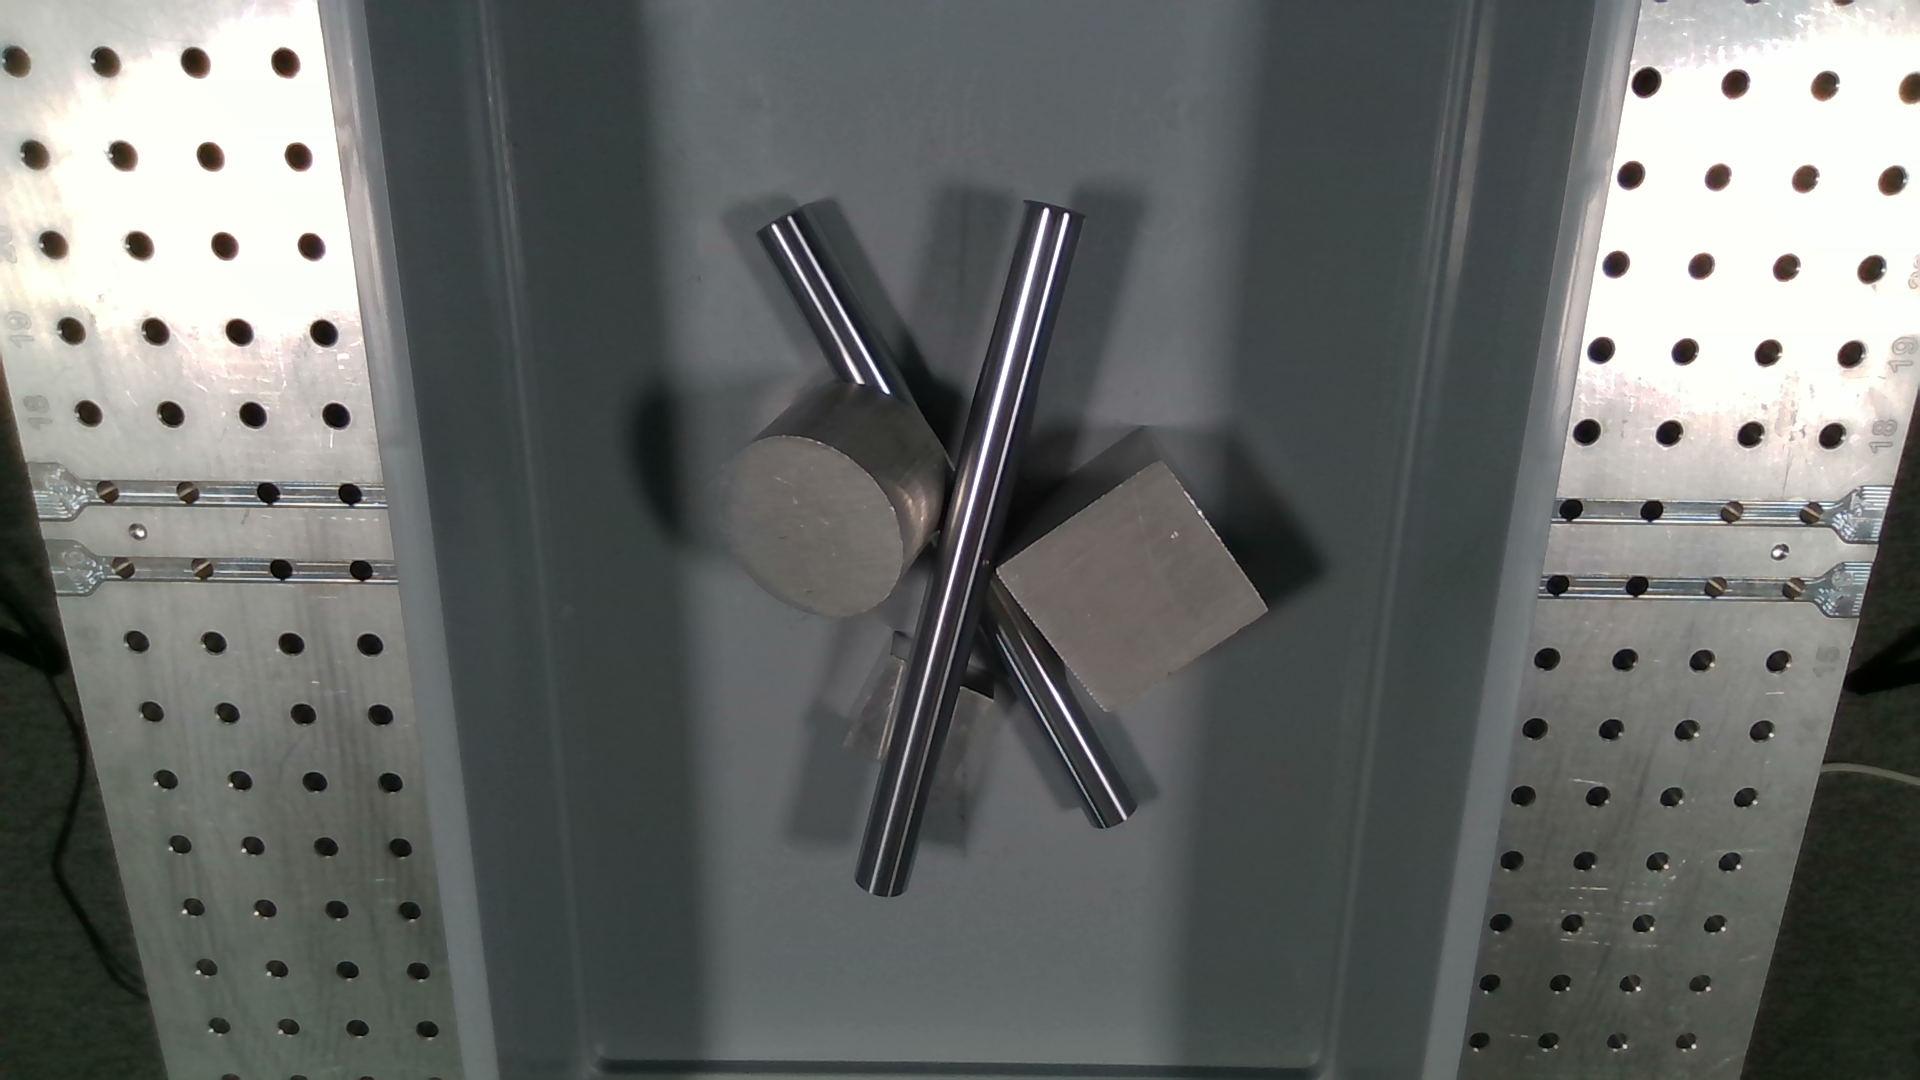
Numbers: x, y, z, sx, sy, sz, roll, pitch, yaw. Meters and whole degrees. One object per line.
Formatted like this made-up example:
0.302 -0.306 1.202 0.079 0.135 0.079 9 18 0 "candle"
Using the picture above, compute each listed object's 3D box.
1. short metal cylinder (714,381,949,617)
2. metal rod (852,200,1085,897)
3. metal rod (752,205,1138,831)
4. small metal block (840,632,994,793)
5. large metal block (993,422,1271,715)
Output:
-0.050 -0.017 0.549 0.080 0.050 0.080 12 124 18 "short metal cylinder"
-0.001 0.014 0.562 0.025 0.025 0.301 13 110 -5 "metal rod"
0.000 0.000 0.583 0.025 0.025 0.301 -26 108 9 "metal rod"
-0.019 0.076 0.610 0.050 0.025 0.050 25 108 -9 "small metal block"
0.069 0.012 0.574 0.080 0.050 0.080 -34 107 12 "large metal block"
